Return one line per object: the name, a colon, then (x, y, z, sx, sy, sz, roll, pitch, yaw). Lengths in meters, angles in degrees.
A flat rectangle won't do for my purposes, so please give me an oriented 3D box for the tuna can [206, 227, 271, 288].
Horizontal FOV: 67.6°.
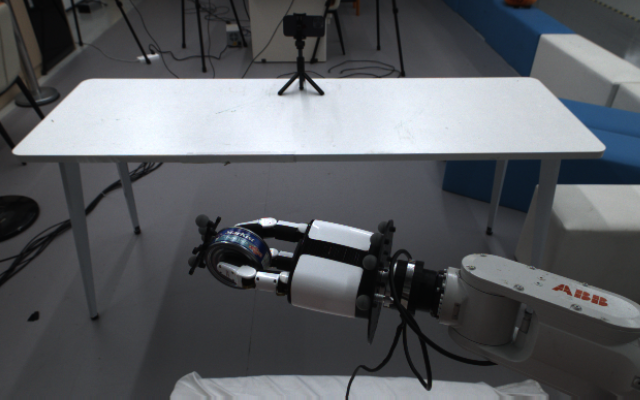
tuna can: (-0.108, 0.081, 0.650, 0.085, 0.085, 0.034, 9, 35, 10)
